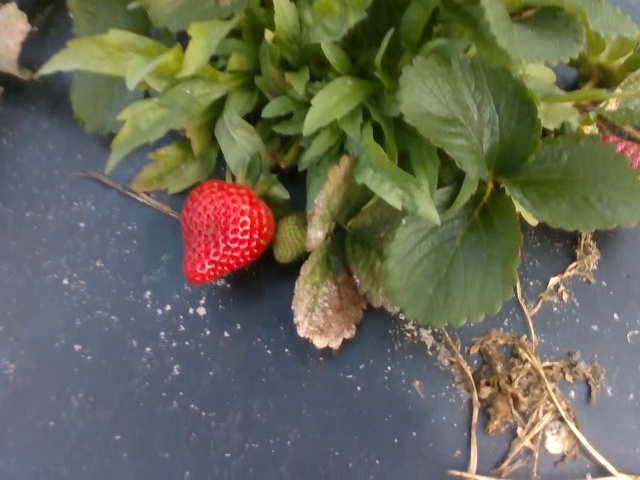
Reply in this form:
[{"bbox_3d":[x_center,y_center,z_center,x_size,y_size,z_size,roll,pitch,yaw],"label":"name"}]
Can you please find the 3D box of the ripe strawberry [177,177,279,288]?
[{"bbox_3d":[-0.041,-0.001,0.252,0.043,0.051,0.043,19,-25,6],"label":"ripe strawberry"}]
